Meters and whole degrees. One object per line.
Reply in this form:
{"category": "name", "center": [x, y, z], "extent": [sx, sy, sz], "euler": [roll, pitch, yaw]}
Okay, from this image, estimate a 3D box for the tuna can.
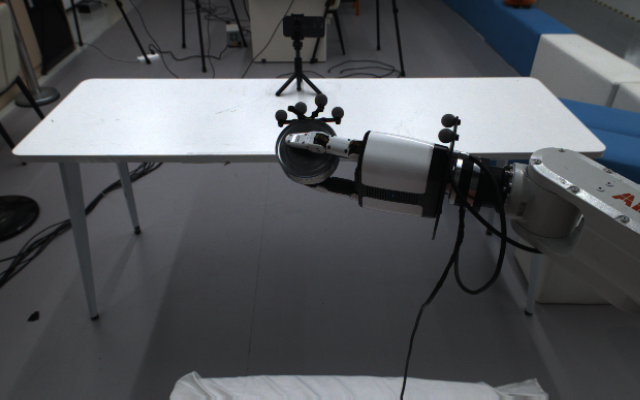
{"category": "tuna can", "center": [-0.014, -0.061, 0.654], "extent": [0.085, 0.034, 0.085], "euler": [-2, 69, 6]}
